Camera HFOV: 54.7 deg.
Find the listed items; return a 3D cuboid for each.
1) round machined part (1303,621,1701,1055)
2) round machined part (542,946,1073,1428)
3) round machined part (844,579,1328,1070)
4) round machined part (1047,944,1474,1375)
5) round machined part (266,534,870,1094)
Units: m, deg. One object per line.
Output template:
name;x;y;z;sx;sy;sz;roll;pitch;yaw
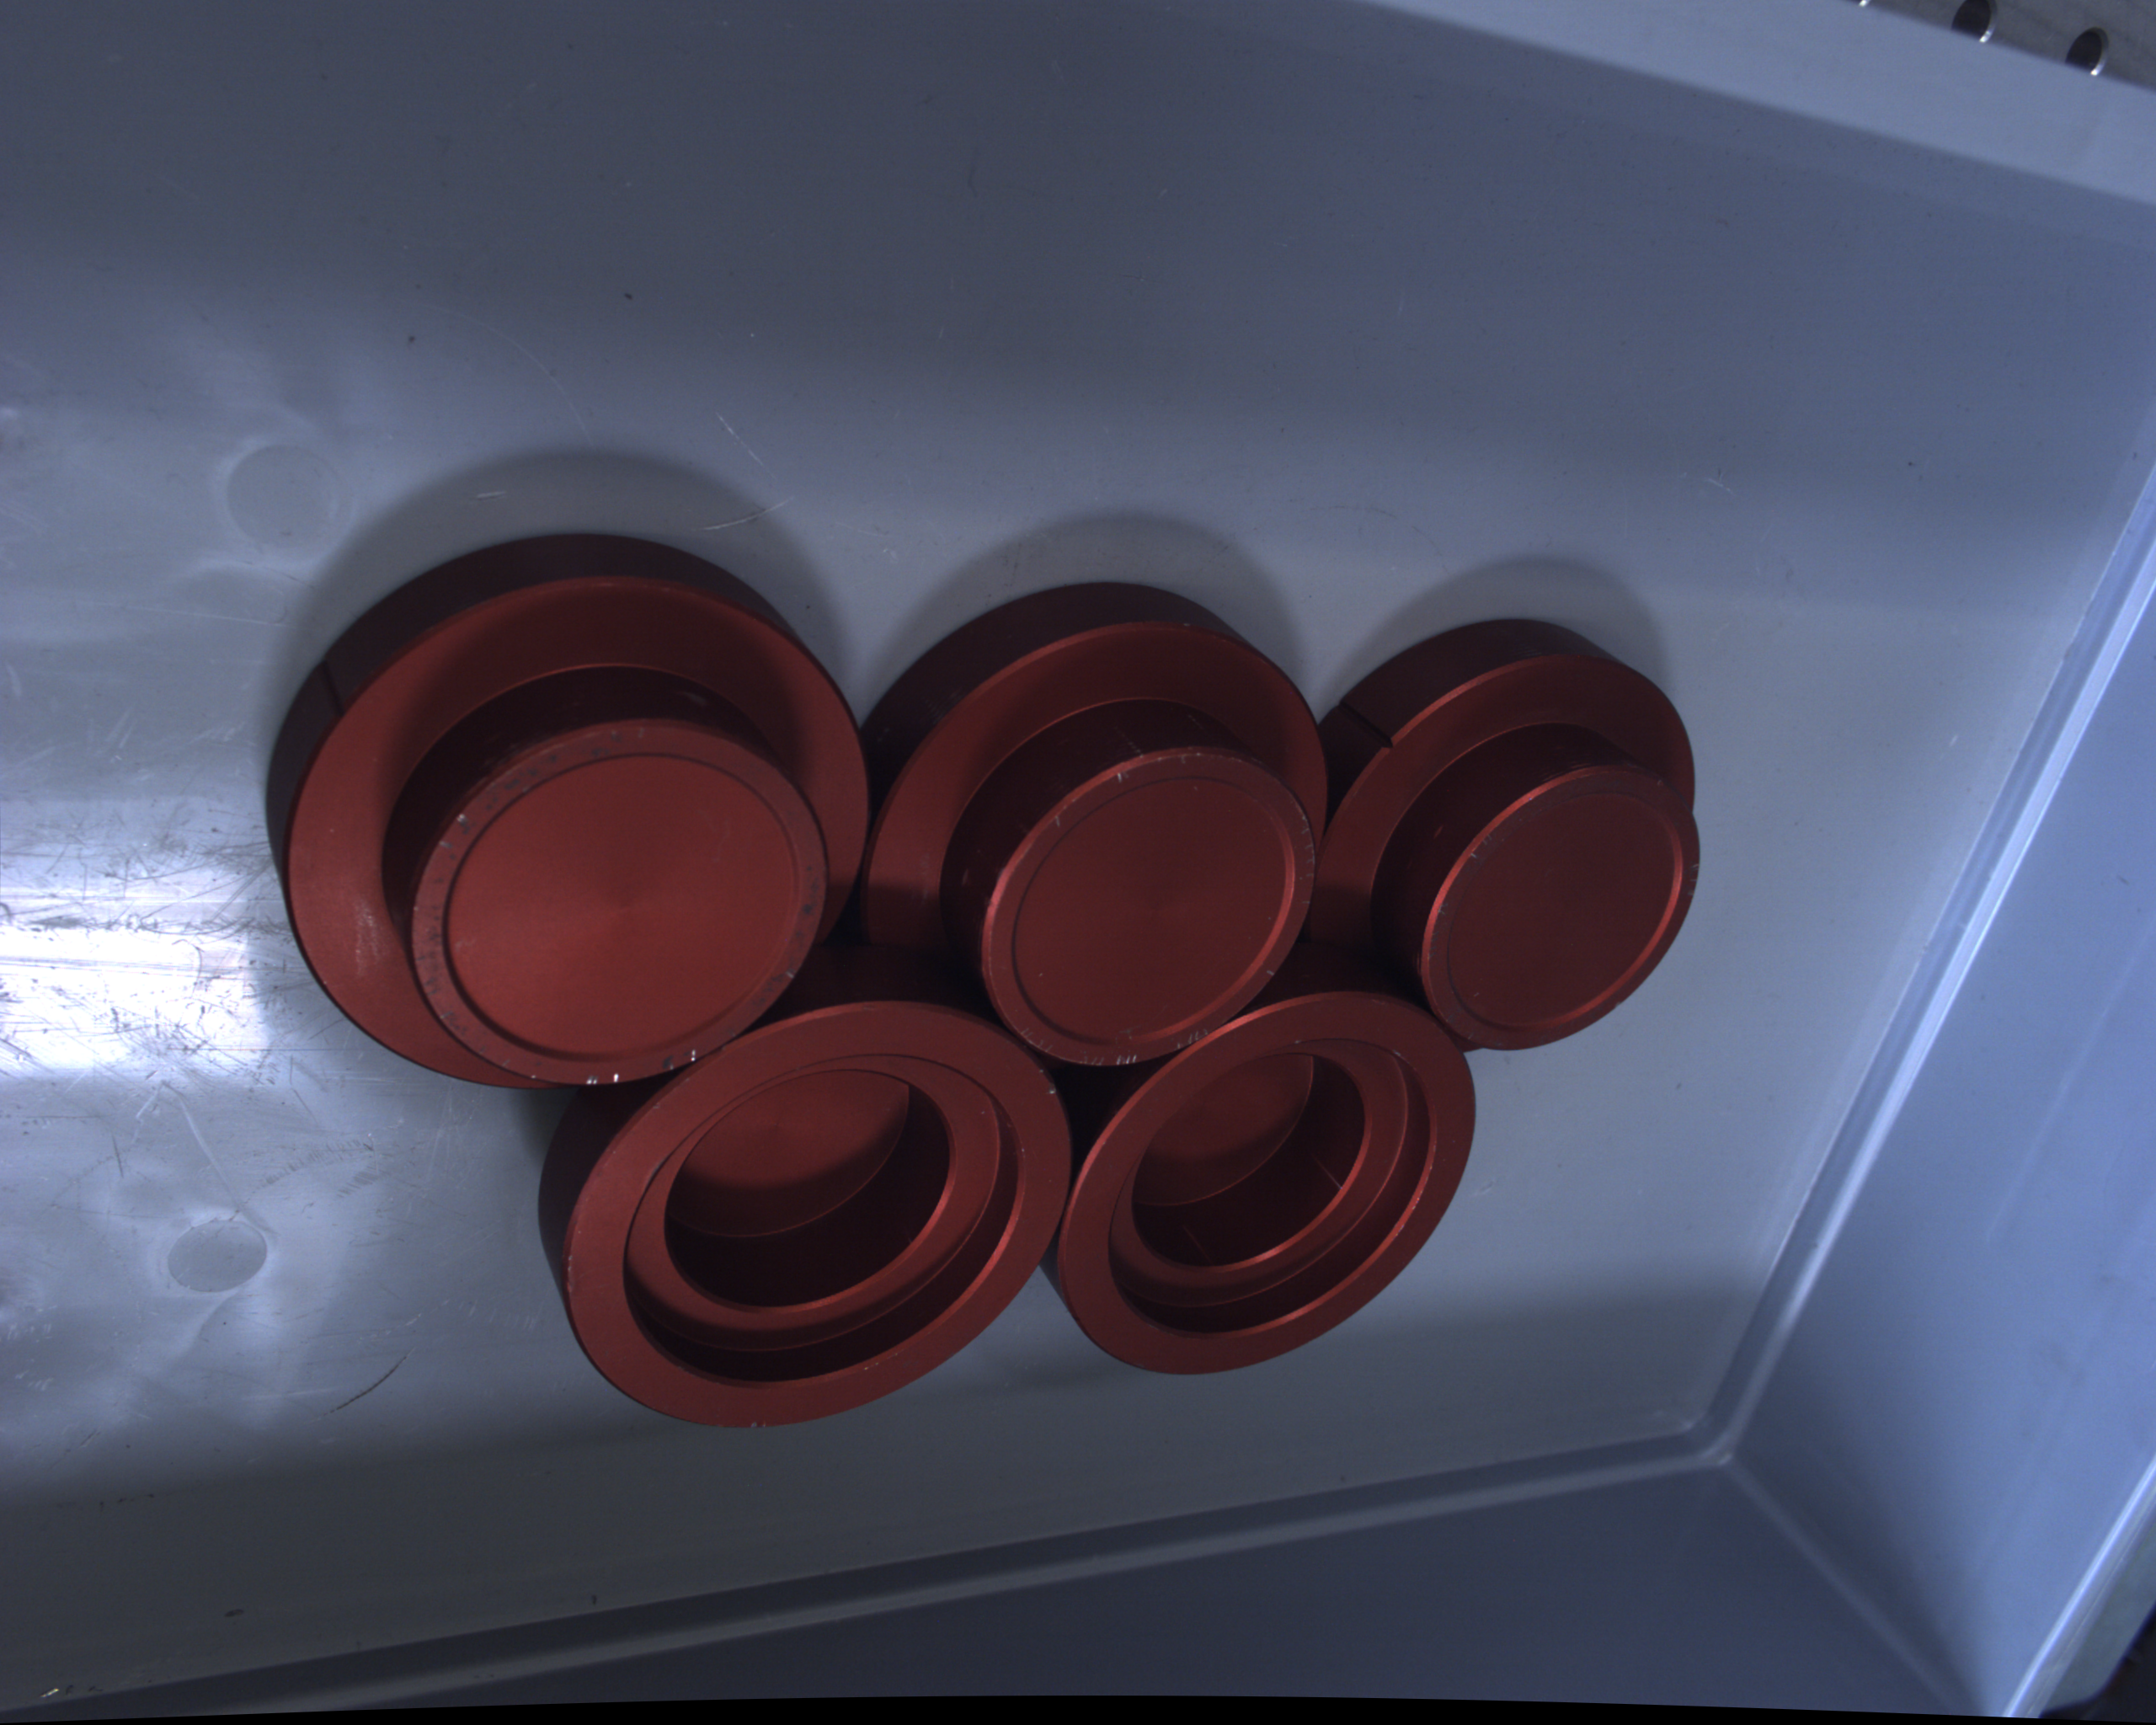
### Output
round machined part;0.092;0.001;0.445;0.099;0.042;0.097;-13;123;-21
round machined part;-0.054;0.057;0.401;0.099;0.042;0.097;-14;124;-21
round machined part;0.005;-0.001;0.397;0.099;0.042;0.097;-13;123;-21
round machined part;0.032;0.059;0.449;0.099;0.042;0.097;-14;124;-21
round machined part;-0.081;-0.002;0.349;0.099;0.042;0.097;-14;124;-22
